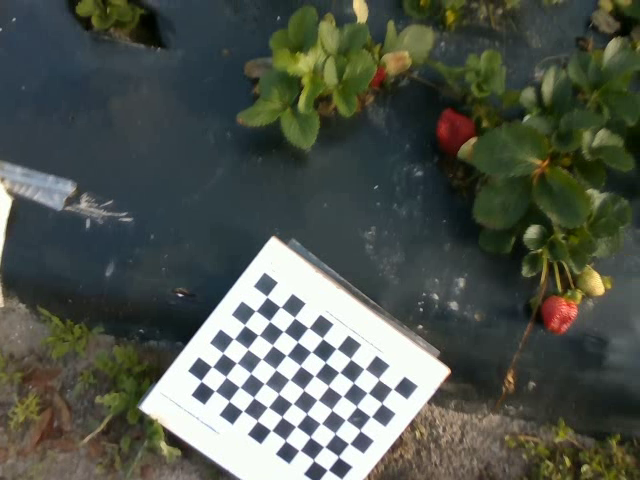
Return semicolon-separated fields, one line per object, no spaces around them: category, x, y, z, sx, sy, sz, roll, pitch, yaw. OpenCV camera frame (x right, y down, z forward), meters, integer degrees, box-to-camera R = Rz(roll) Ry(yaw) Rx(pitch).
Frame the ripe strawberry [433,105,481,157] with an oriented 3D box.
ripe strawberry;0.171;-0.162;1.149;0.070;0.058;0.057;45;6;-34

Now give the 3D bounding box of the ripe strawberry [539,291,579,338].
ripe strawberry;0.308;0.100;1.104;0.047;0.050;0.035;16;4;-5
